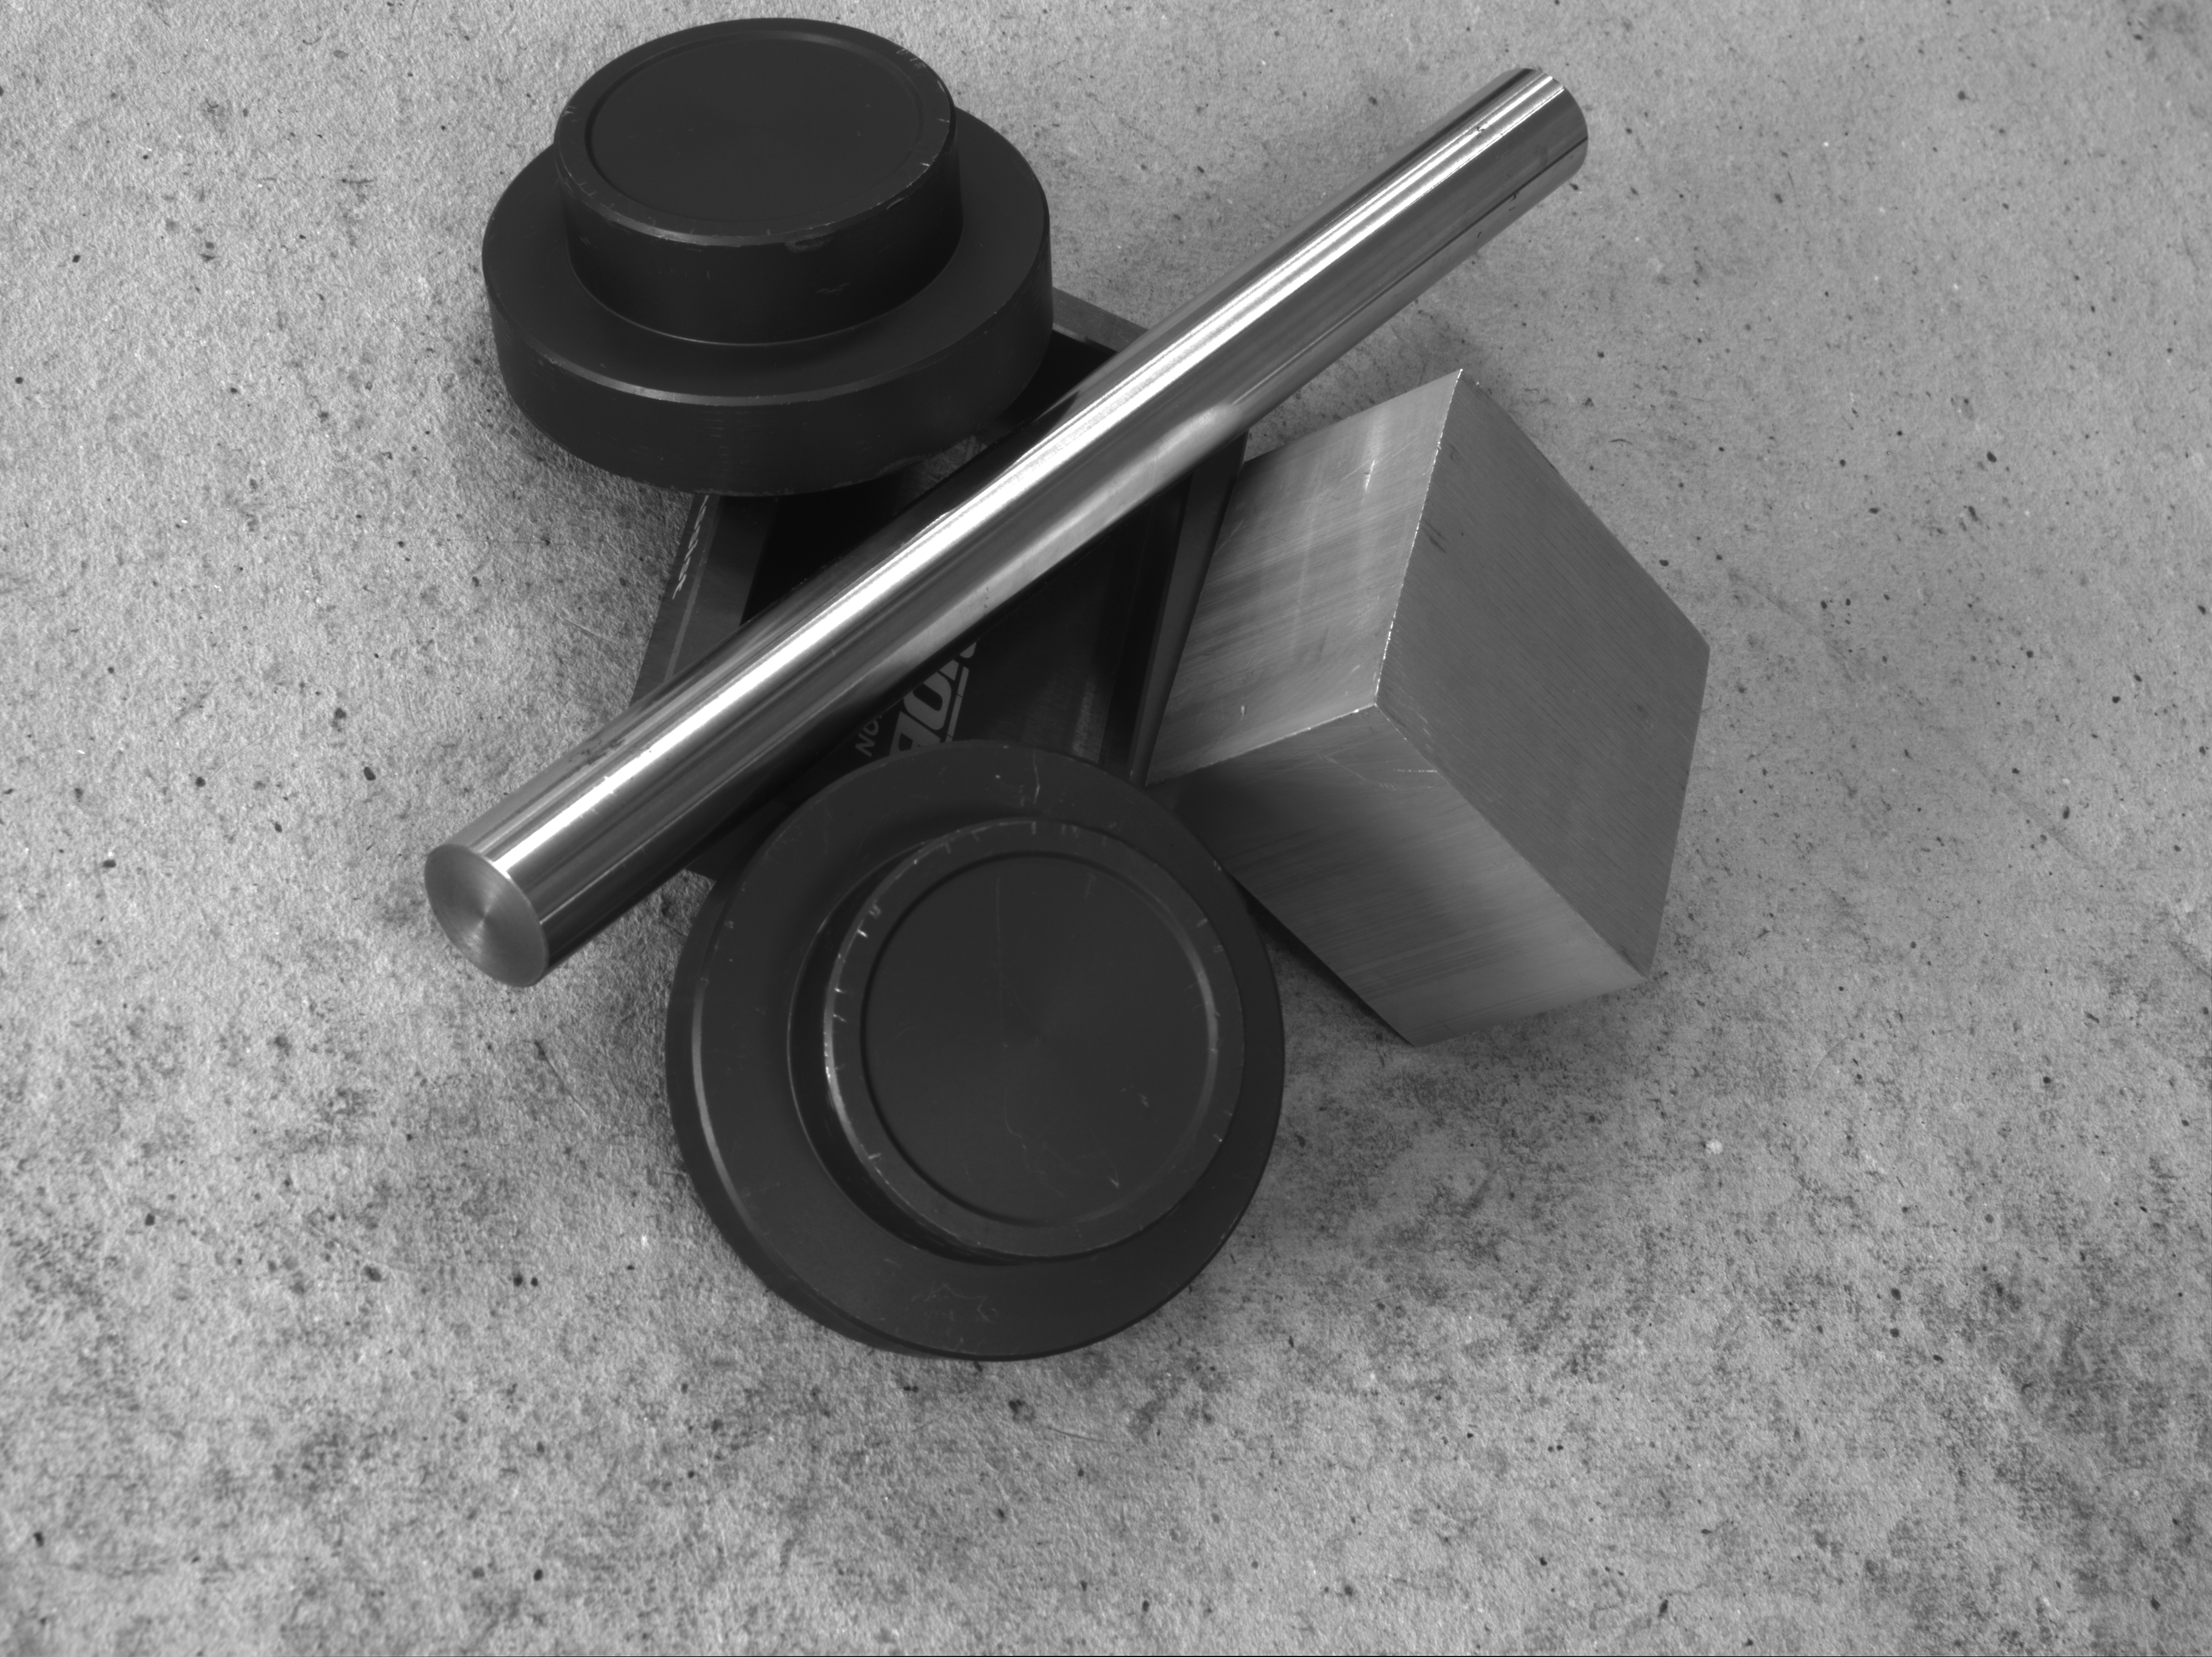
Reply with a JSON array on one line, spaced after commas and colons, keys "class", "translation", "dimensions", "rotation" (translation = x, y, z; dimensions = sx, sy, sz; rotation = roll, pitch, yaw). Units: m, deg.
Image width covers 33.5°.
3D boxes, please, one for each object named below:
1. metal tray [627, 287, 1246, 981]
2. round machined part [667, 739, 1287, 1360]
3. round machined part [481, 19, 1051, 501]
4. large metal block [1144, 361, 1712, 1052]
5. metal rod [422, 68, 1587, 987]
[{"class": "metal tray", "translation": [-0.029, -0.042, 0.647], "dimensions": [0.090, 0.030, 0.130], "rotation": [22, 53, -15]}, {"class": "round machined part", "translation": [-0.016, 0.034, 0.577], "dimensions": [0.098, 0.042, 0.098], "rotation": [3, 81, -20]}, {"class": "round machined part", "translation": [-0.059, -0.104, 0.635], "dimensions": [0.098, 0.042, 0.098], "rotation": [-1, 45, 1]}, {"class": "large metal block", "translation": [0.059, -0.020, 0.649], "dimensions": [0.080, 0.050, 0.080], "rotation": [43, 46, -30]}, {"class": "metal rod", "translation": [-0.004, -0.063, 0.639], "dimensions": [0.025, 0.025, 0.301], "rotation": [46, 51, 4]}]
